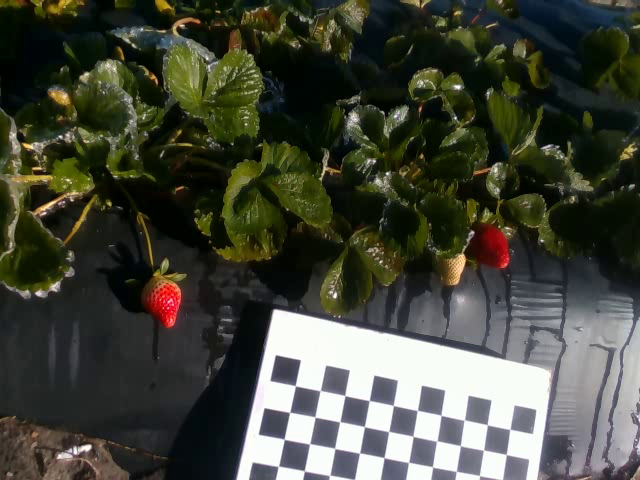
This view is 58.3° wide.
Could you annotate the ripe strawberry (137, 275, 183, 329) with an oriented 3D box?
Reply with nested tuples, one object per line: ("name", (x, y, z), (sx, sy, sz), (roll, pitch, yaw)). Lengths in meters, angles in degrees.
("ripe strawberry", (-0.138, 0.057, 0.504), (0.039, 0.053, 0.041), (-8, -23, -12))
